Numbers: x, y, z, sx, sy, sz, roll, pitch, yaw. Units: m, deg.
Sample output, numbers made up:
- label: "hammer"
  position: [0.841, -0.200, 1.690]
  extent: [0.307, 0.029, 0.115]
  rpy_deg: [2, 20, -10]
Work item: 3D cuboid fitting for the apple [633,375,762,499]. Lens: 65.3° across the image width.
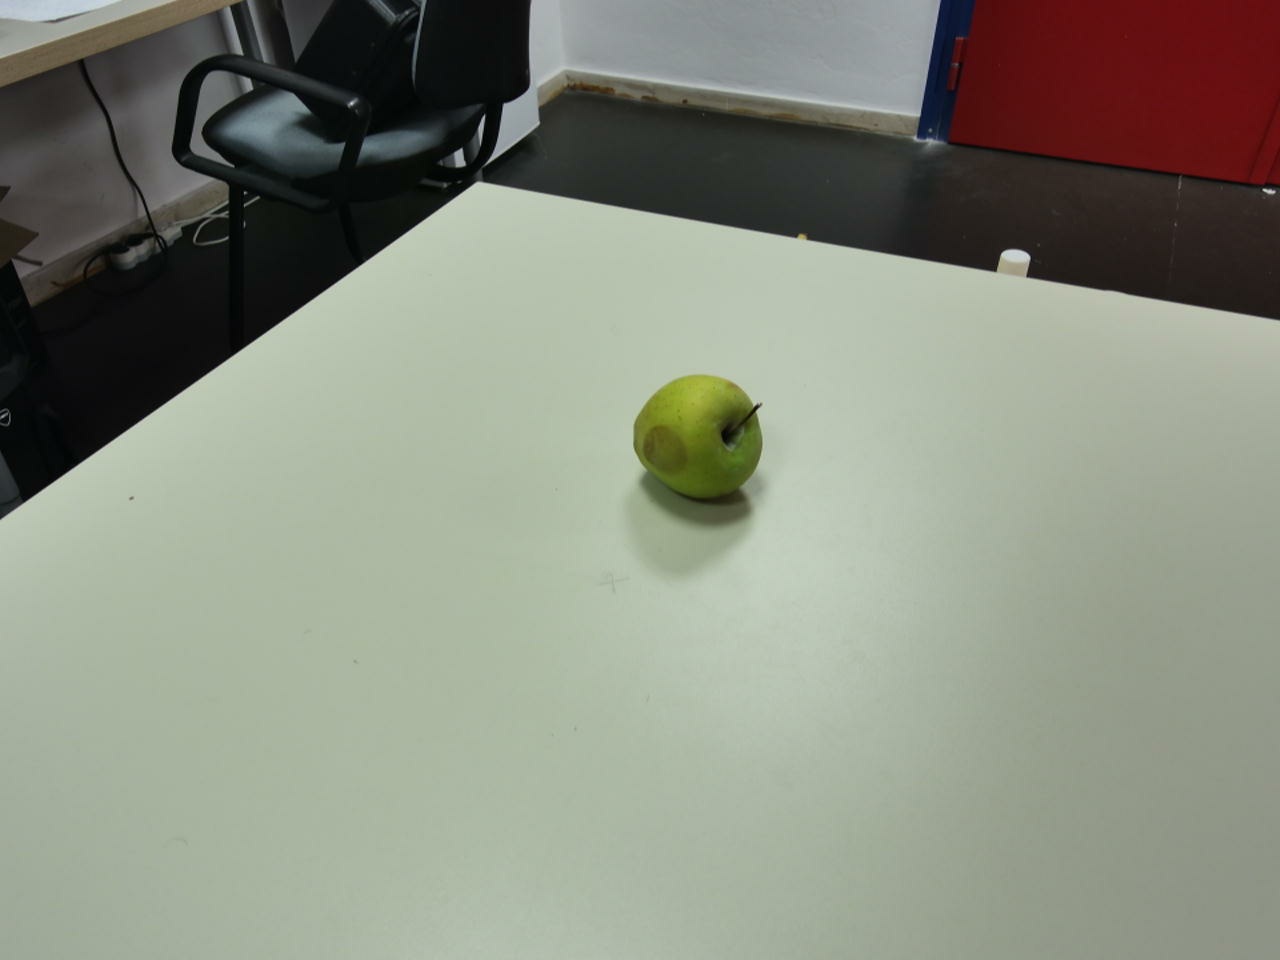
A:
- label: "apple"
  position: [0.036, -0.028, 0.598]
  extent: [0.072, 0.075, 0.077]
  rpy_deg: [-13, 40, -16]
